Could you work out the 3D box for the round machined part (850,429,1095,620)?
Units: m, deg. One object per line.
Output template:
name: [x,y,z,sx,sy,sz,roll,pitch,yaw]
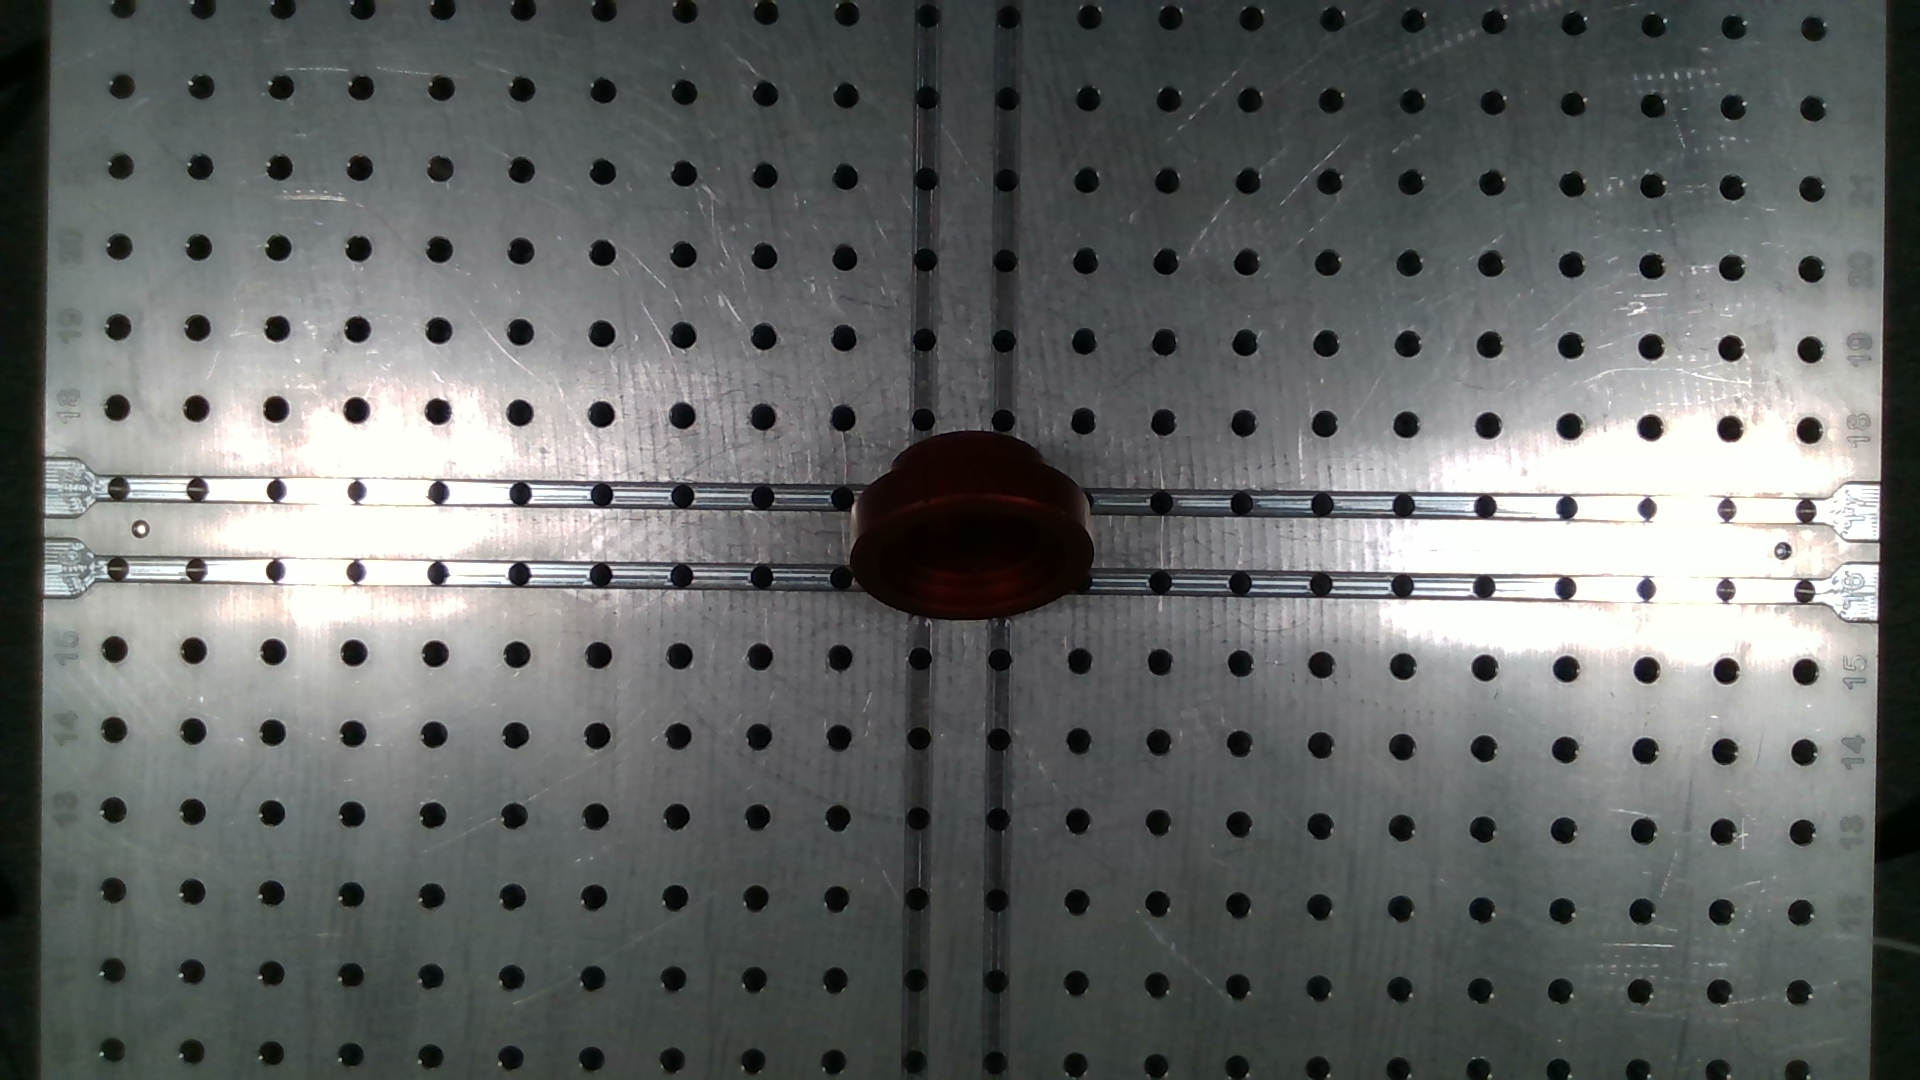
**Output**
round machined part: [0.004,-0.009,0.562,0.098,0.098,0.042,-3,59,0]
